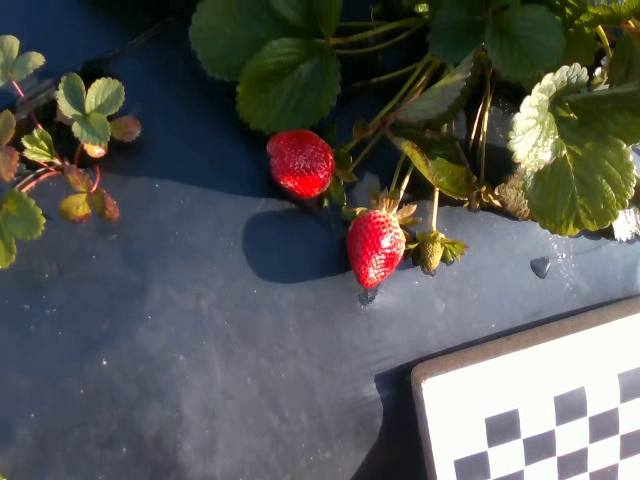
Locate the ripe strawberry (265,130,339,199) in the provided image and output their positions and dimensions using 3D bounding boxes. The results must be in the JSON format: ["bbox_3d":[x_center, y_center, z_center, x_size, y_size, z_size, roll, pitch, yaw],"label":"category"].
[{"bbox_3d":[-0.012,-0.047,0.384,0.054,0.048,0.039,-4,15,-38],"label":"ripe strawberry"}]

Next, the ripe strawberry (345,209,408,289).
[{"bbox_3d":[0.033,0.006,0.372,0.043,0.053,0.038,31,-36,-19],"label":"ripe strawberry"}]
